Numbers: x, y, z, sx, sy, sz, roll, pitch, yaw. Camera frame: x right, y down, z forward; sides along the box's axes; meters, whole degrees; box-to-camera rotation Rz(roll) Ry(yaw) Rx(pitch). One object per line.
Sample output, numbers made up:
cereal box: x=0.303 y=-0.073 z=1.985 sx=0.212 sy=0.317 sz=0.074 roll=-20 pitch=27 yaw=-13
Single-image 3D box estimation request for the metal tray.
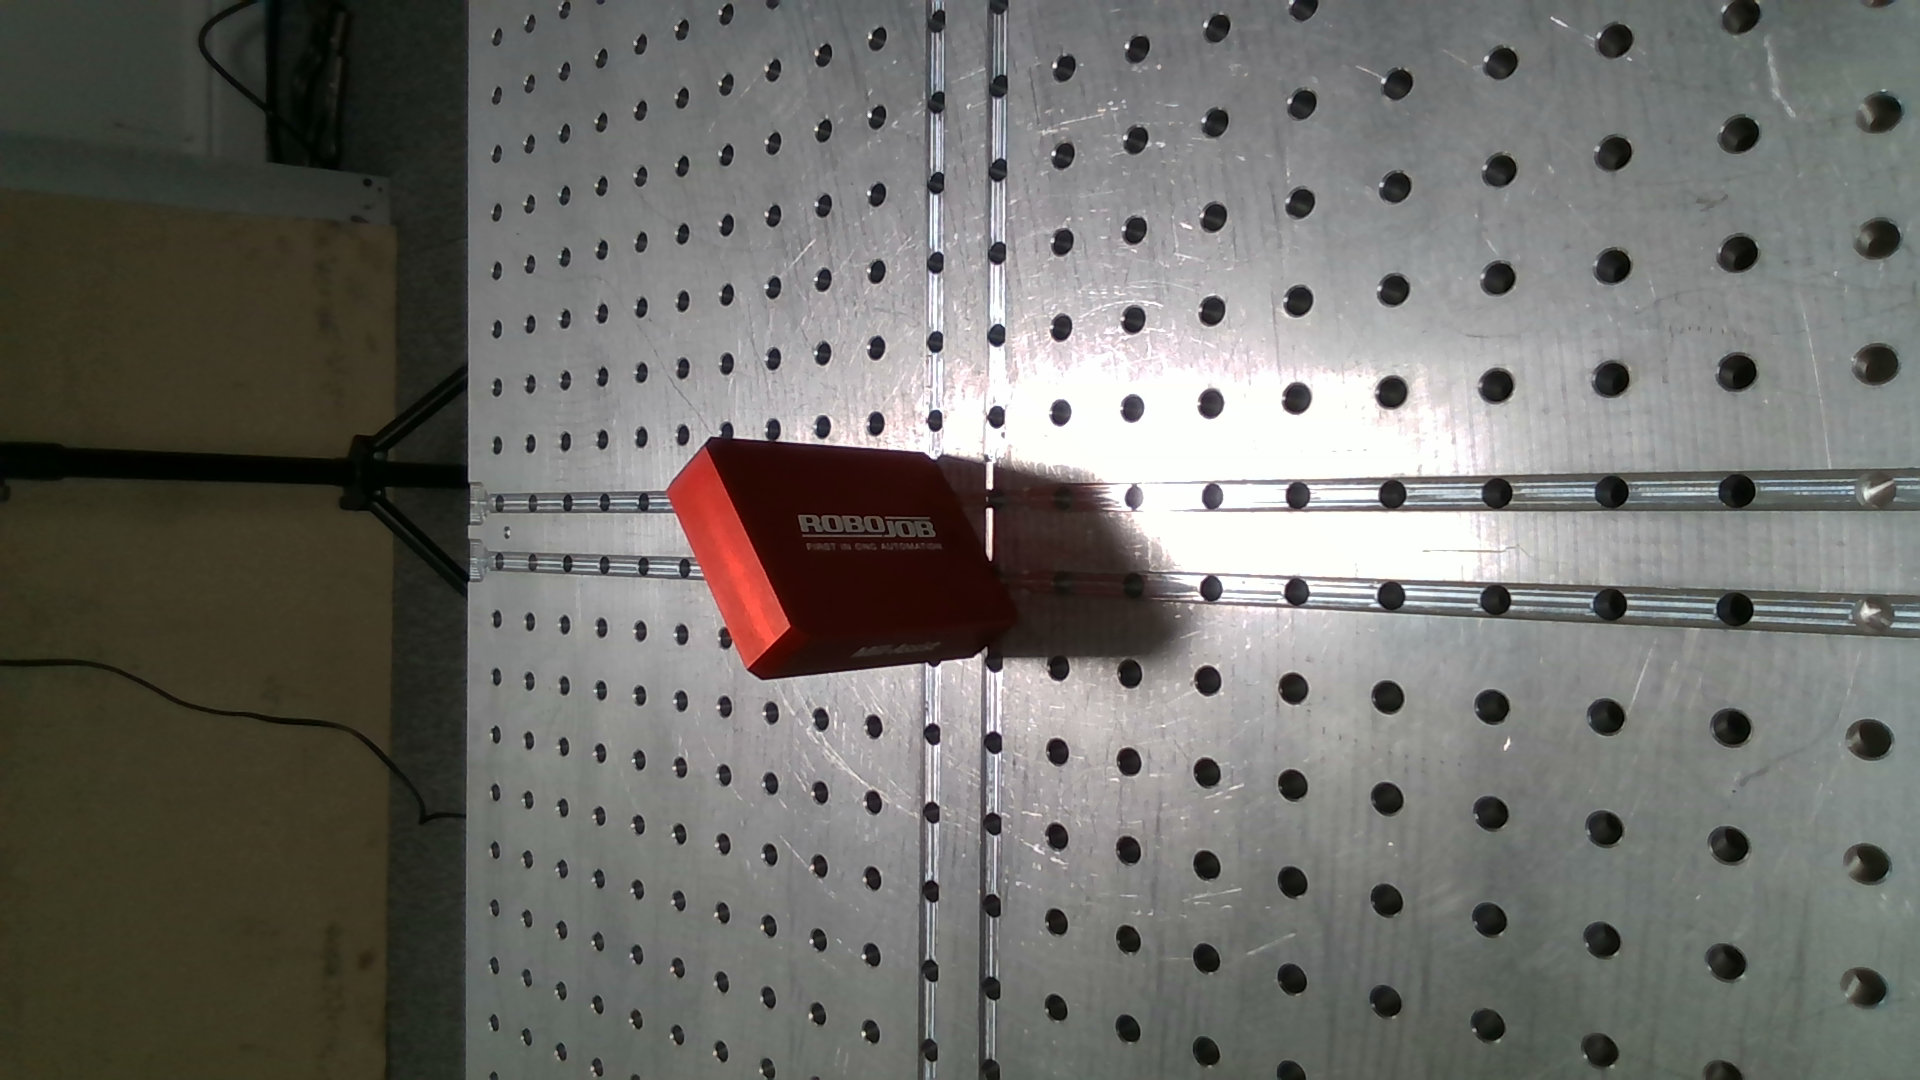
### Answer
metal tray: x=-0.044 y=0.005 z=0.553 sx=0.030 sy=0.130 sz=0.090 roll=-42 pitch=64 yaw=32
